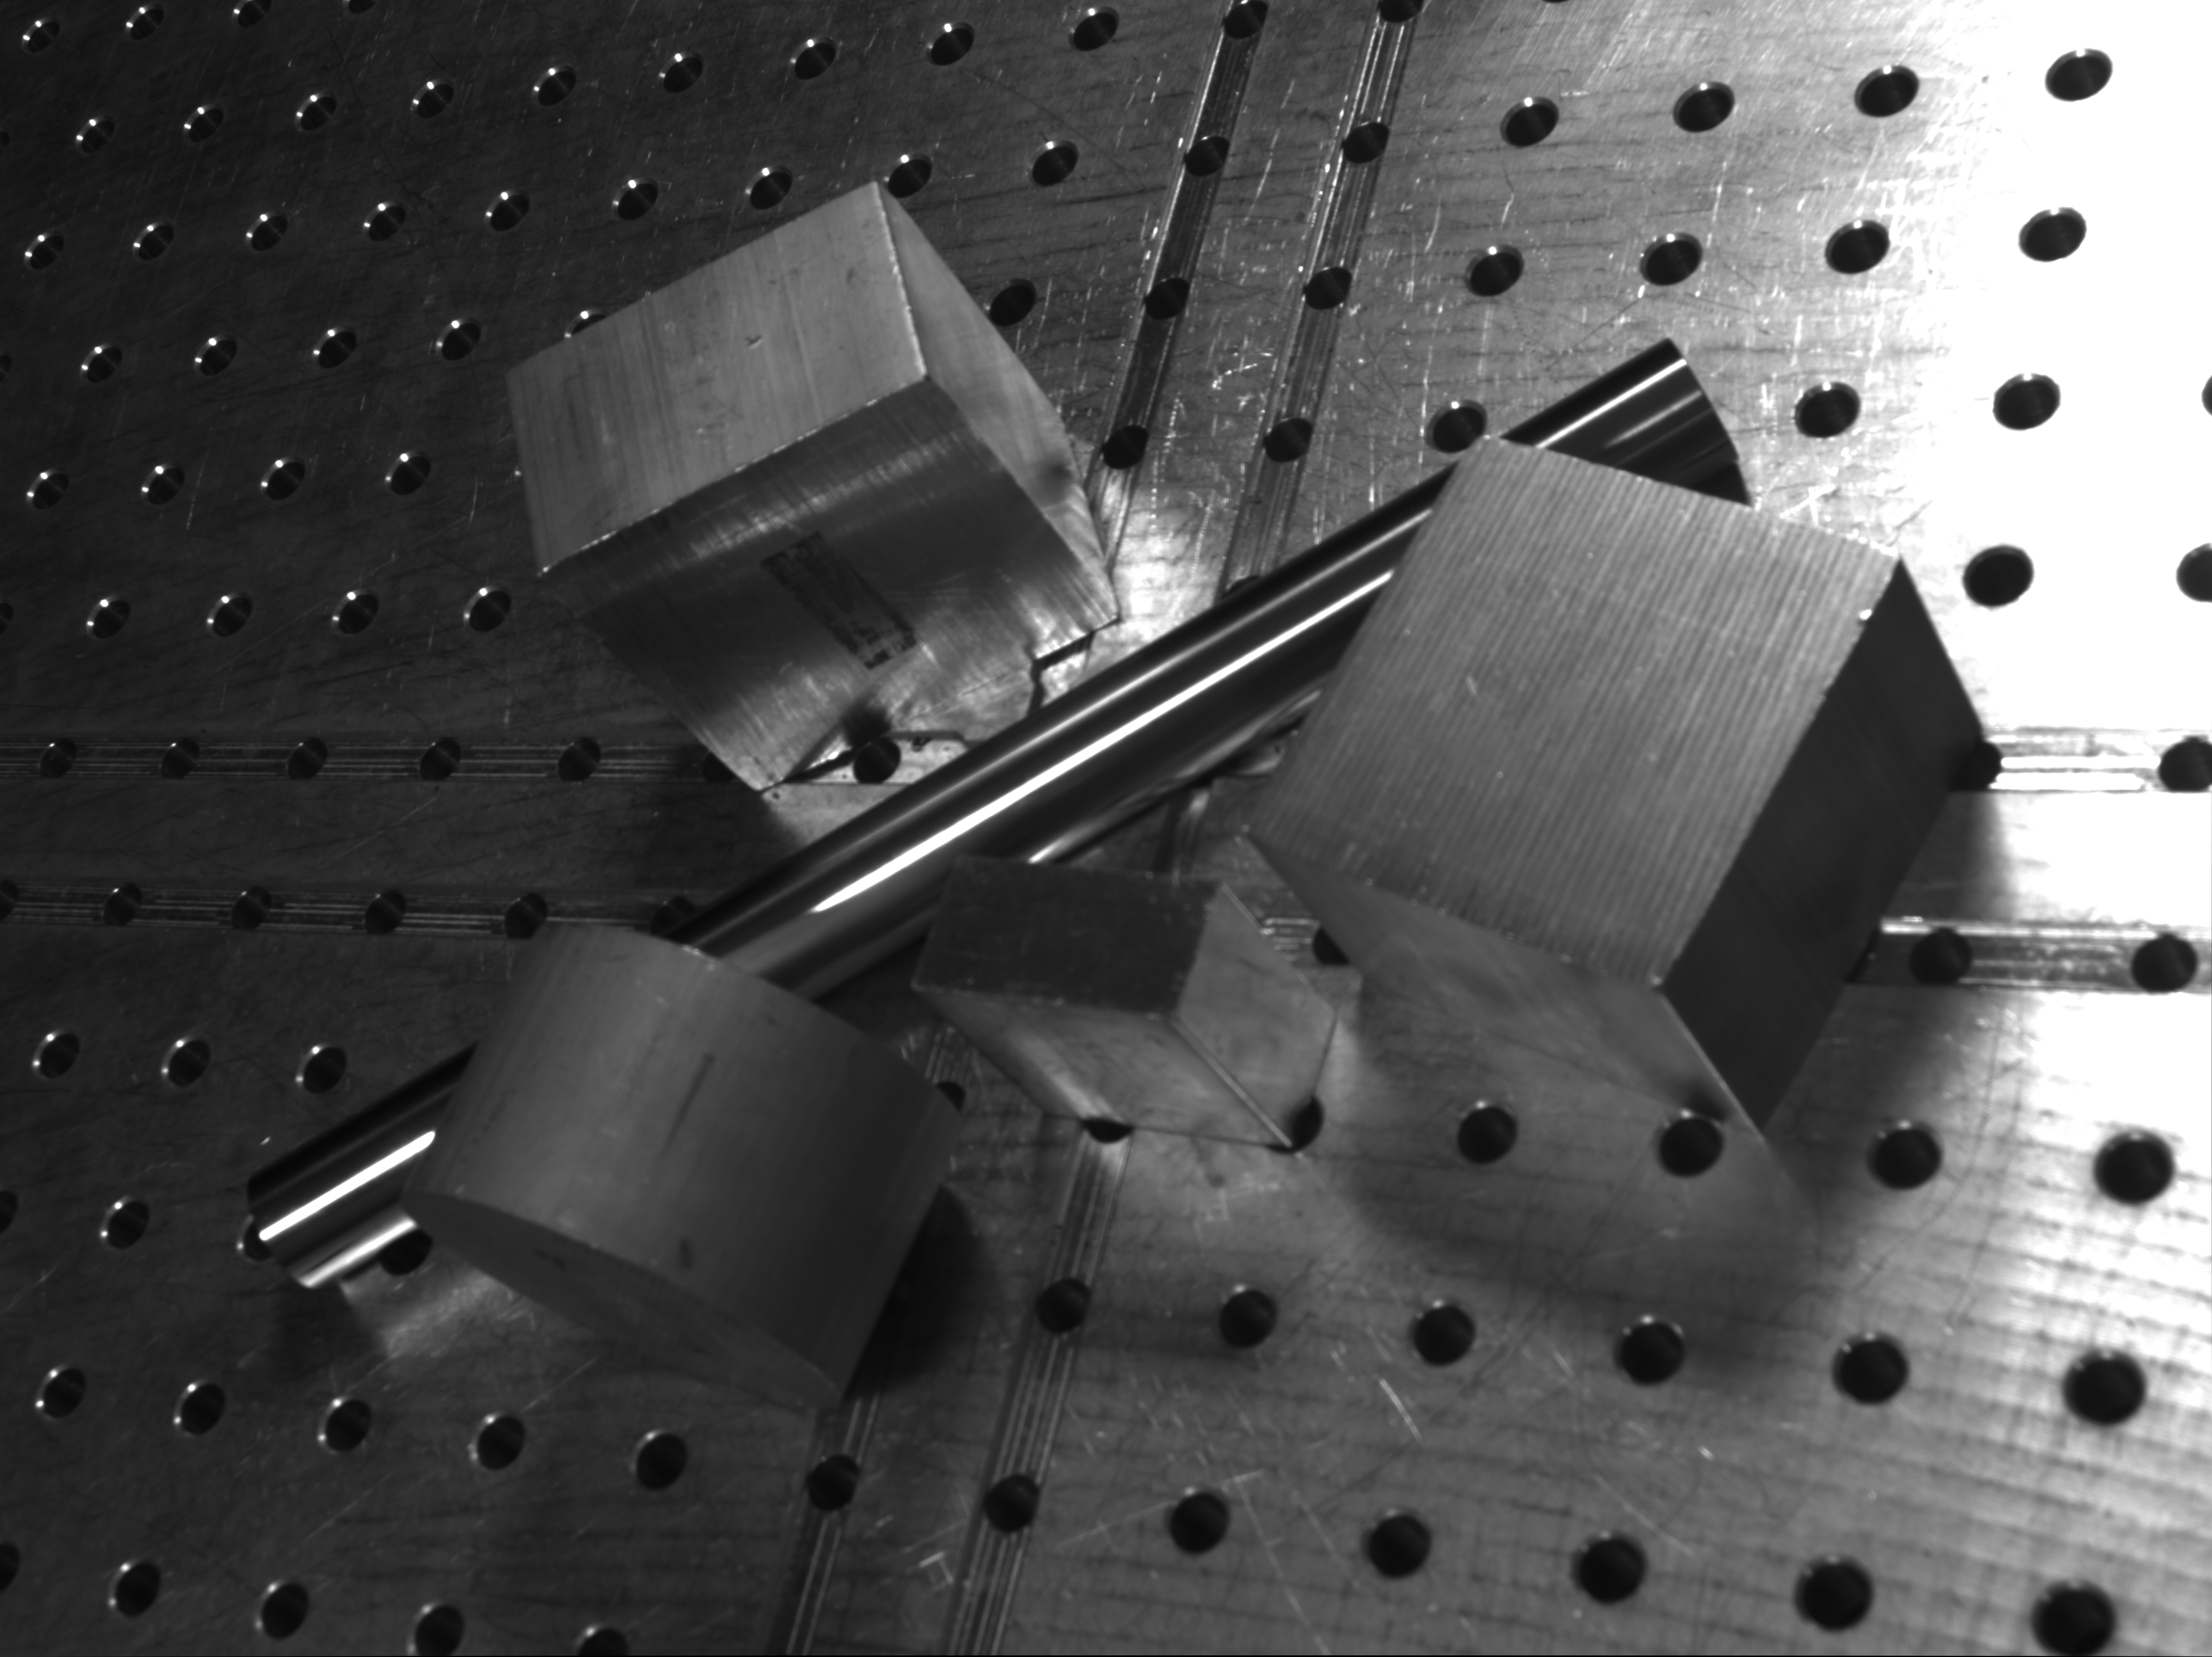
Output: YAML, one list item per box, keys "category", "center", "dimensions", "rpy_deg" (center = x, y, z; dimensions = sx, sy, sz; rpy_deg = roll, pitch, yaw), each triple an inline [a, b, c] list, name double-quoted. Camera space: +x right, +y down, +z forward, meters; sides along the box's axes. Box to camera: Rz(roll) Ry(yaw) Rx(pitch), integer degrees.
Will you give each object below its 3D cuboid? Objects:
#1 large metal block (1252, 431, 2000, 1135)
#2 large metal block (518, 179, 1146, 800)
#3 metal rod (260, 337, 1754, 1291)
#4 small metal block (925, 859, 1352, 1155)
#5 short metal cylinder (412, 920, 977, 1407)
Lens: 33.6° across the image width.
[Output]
- category: "large metal block"
  center: [0.084, -0.009, 0.588]
  dimensions: [0.080, 0.050, 0.080]
  rpy_deg: [21, 73, 36]
- category: "large metal block"
  center: [-0.050, -0.061, 0.677]
  dimensions: [0.080, 0.080, 0.050]
  rpy_deg: [-26, 52, 13]
- category: "metal rod"
  center: [-0.022, 0.000, 0.658]
  dimensions: [0.300, 0.025, 0.025]
  rpy_deg: [-30, 51, 9]
- category: "small metal block"
  center: [0.006, 0.030, 0.610]
  dimensions: [0.050, 0.050, 0.025]
  rpy_deg: [5, 64, 31]
- category: "short metal cylinder"
  center: [-0.068, 0.057, 0.613]
  dimensions: [0.080, 0.080, 0.050]
  rpy_deg: [12, 68, 33]
